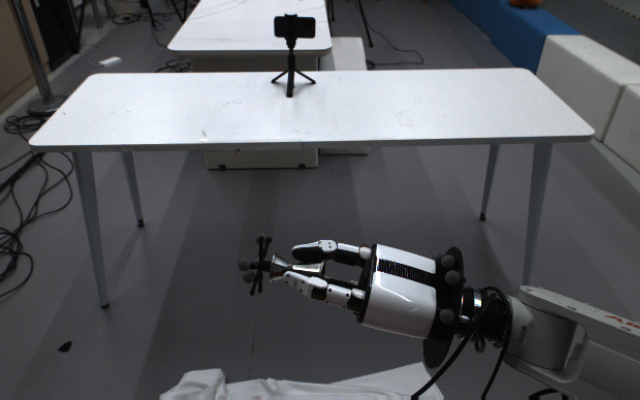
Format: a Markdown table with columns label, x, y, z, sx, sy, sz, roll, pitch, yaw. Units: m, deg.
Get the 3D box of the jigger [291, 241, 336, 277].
| label | x | y | z | sx | sy | sz | roll | pitch | yaw |
| --- | --- | --- | --- | --- | --- | --- | --- | --- | --- |
| jigger | -0.021 | 0.089 | 0.647 | 0.071 | 0.043 | 0.043 | 7 | 35 | 7 |
